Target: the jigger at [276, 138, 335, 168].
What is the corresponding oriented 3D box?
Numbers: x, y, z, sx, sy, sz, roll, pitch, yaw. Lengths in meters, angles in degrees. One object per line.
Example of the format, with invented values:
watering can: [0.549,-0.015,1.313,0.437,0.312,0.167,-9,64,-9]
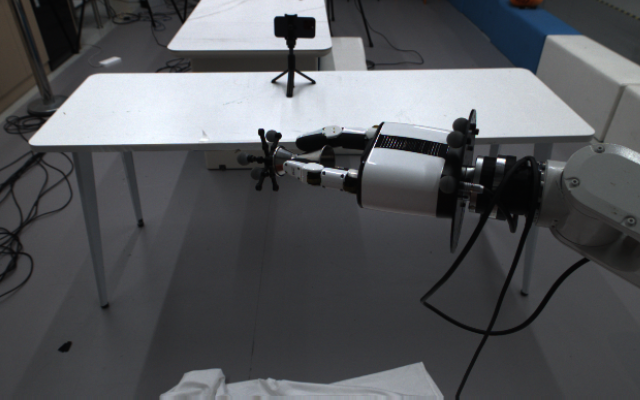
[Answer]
jigger: [-0.013,-0.054,0.606,0.071,0.043,0.043,3,32,26]
